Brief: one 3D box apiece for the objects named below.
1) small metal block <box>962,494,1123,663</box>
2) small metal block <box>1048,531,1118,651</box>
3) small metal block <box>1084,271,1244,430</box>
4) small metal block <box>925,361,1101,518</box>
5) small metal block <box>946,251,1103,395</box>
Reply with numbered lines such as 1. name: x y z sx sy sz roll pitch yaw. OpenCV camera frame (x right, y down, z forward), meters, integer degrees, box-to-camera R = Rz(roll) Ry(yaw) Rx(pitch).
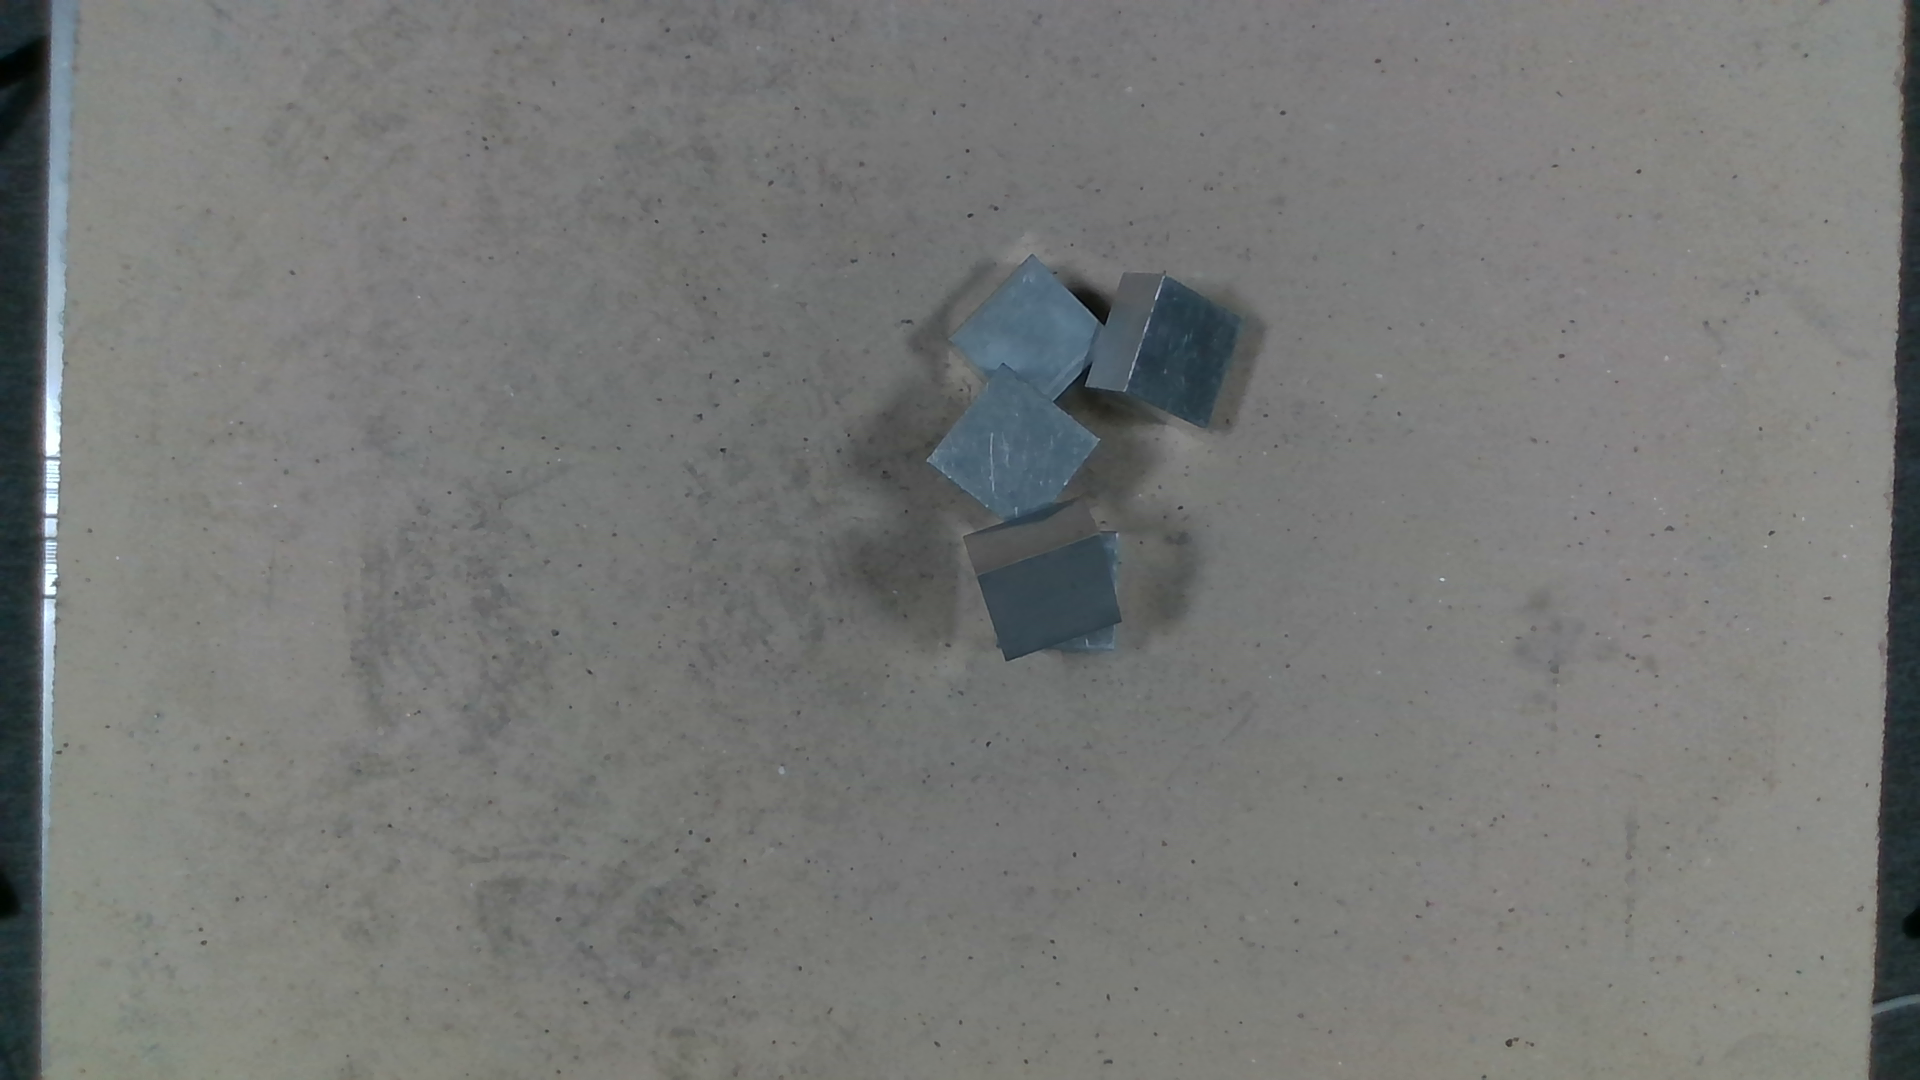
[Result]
1. small metal block: 0.033 0.016 0.550 0.050 0.025 0.050 -19 130 0
2. small metal block: 0.040 0.021 0.587 0.050 0.025 0.050 2 90 0
3. small metal block: 0.085 -0.079 0.575 0.050 0.025 0.050 18 91 -37
4. small metal block: 0.021 -0.036 0.561 0.050 0.025 0.050 38 90 0
5. small metal block: 0.029 -0.085 0.586 0.050 0.025 0.050 -45 90 0
